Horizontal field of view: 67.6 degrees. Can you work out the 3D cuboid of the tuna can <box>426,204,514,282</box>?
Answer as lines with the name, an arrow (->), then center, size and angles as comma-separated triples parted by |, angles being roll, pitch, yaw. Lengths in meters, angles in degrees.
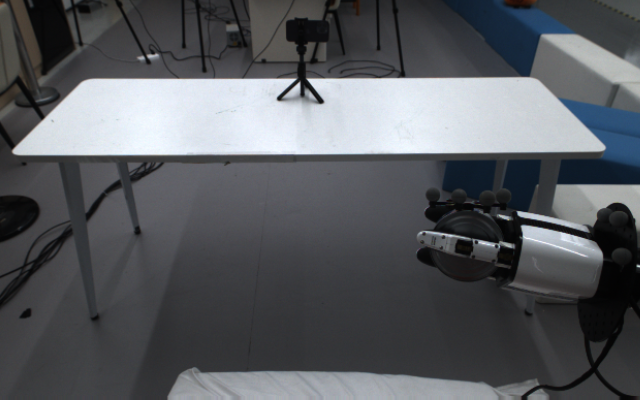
tuna can -> 0.177, 0.051, 0.582 | 0.085, 0.085, 0.034 | 12, 8, 15
